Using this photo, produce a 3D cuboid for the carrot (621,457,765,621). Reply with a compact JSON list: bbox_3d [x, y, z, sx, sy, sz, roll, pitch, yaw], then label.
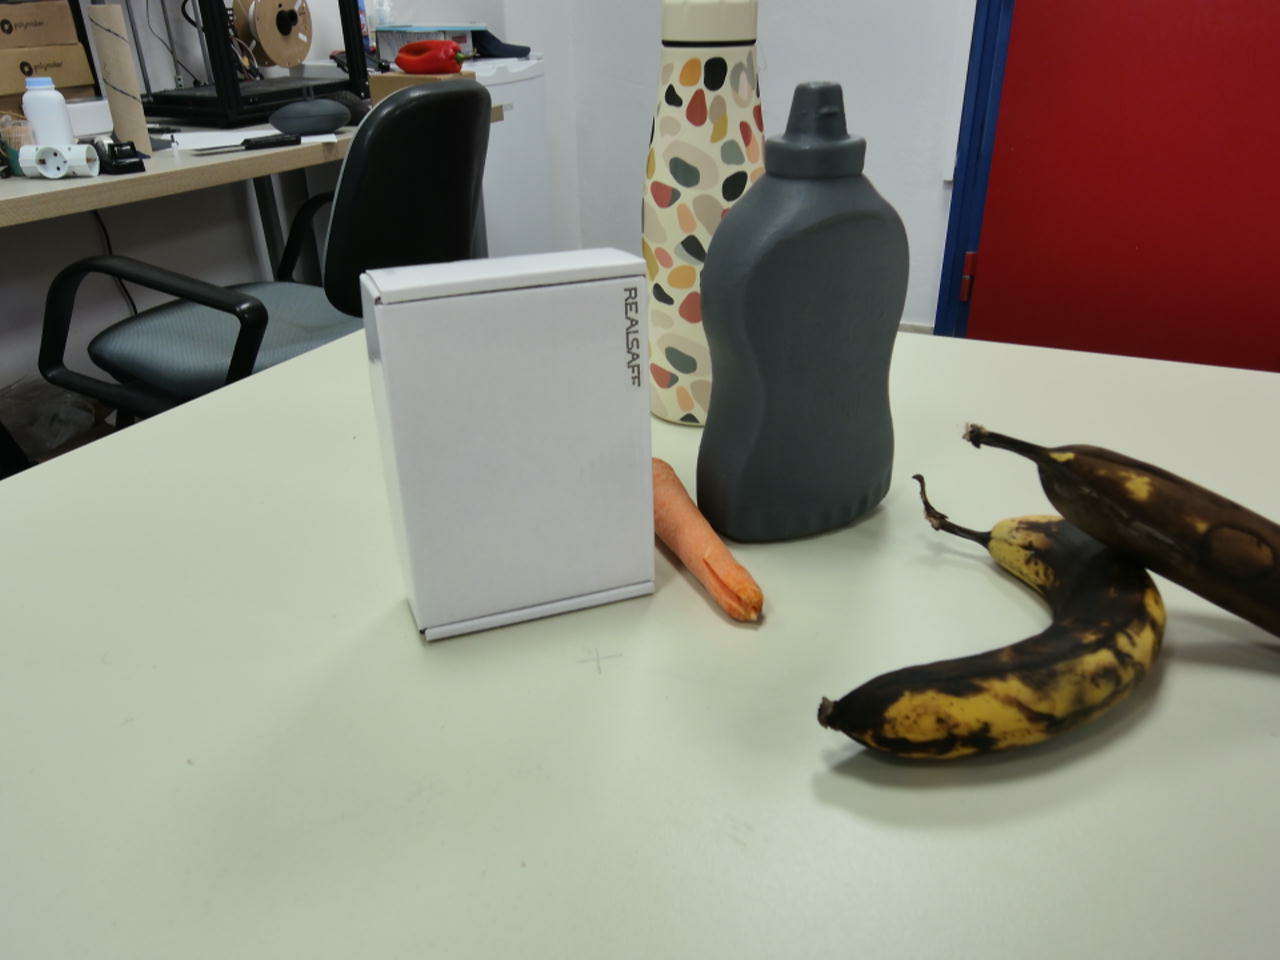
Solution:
[{"bbox_3d":[0.022,0.023,0.471,0.030,0.032,0.136,-8,25,-18],"label":"carrot"}]
